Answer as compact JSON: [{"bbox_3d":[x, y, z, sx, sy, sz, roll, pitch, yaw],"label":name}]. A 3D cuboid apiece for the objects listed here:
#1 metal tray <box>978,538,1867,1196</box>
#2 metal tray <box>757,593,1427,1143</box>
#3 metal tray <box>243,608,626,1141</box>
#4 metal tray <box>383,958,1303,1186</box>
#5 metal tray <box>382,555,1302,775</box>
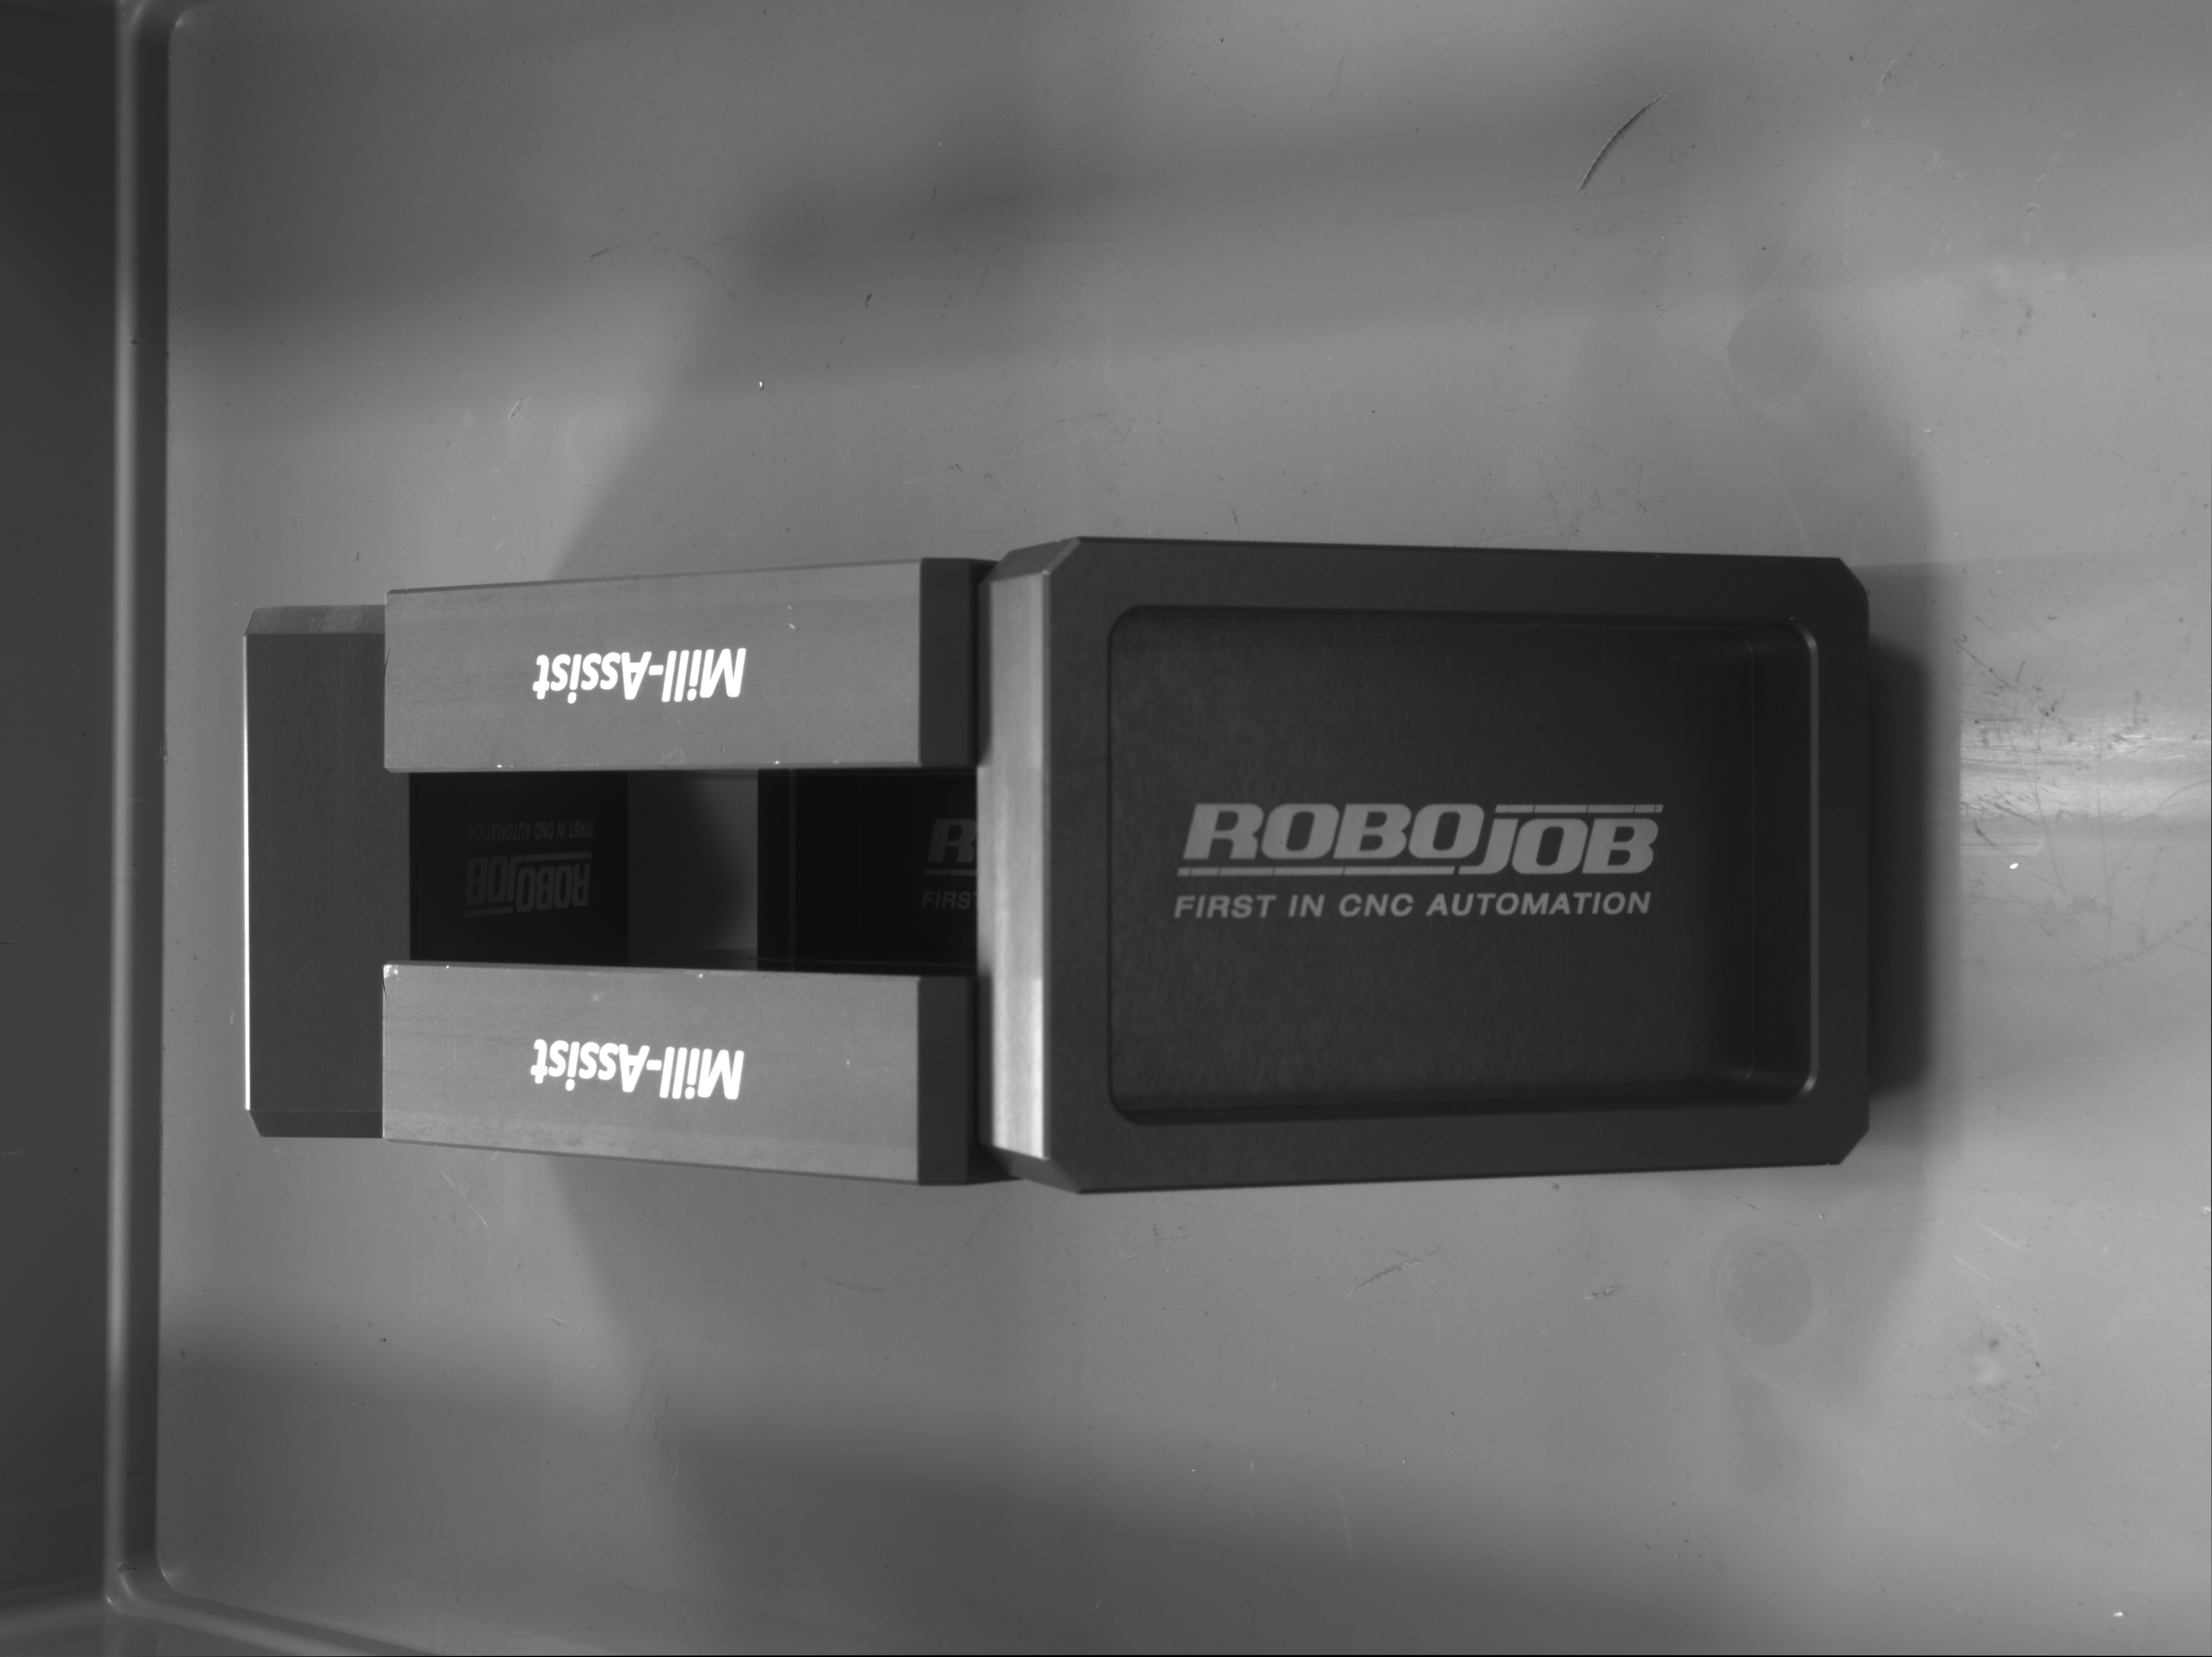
[{"bbox_3d":[0.047,0.005,0.536,0.030,0.130,0.090,-179,89,-69],"label":"metal tray"},{"bbox_3d":[-0.005,0.007,0.645,0.129,0.030,0.090,-1,89,40],"label":"metal tray"},{"bbox_3d":[-0.121,0.007,0.679,0.030,0.130,0.090,0,91,8],"label":"metal tray"},{"bbox_3d":[-0.044,0.037,0.598,0.129,0.090,0.030,0,89,40],"label":"metal tray"},{"bbox_3d":[-0.044,-0.024,0.598,0.129,0.090,0.030,0,90,40],"label":"metal tray"}]
